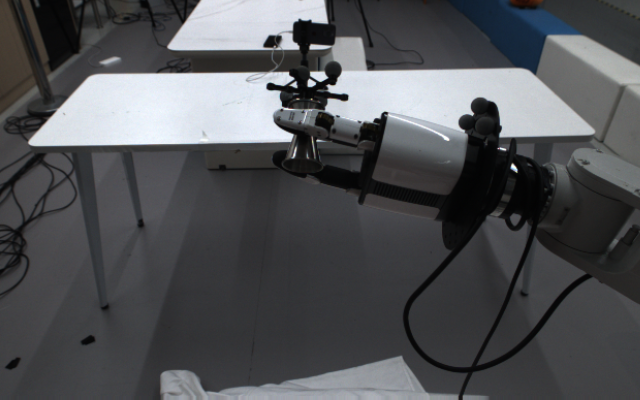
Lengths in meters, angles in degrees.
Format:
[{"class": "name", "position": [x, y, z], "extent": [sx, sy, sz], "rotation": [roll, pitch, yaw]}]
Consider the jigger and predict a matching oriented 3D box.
[{"class": "jigger", "position": [-0.017, -0.068, 0.513], "extent": [0.043, 0.043, 0.071], "rotation": [3, 75, 1]}]
